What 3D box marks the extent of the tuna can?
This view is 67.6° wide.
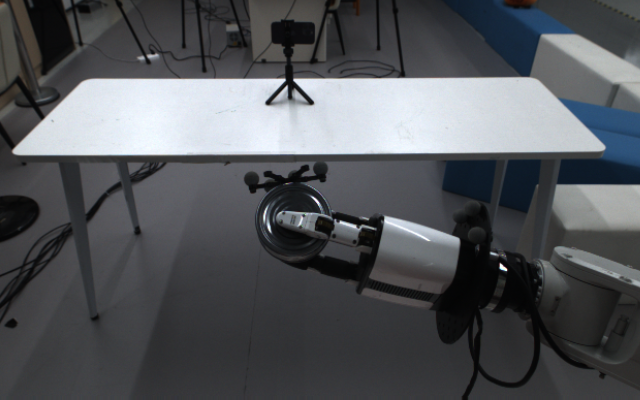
[{"bbox_3d":[-0.024,0.030,0.535,0.085,0.034,0.085,0,72,-1],"label":"tuna can"}]
